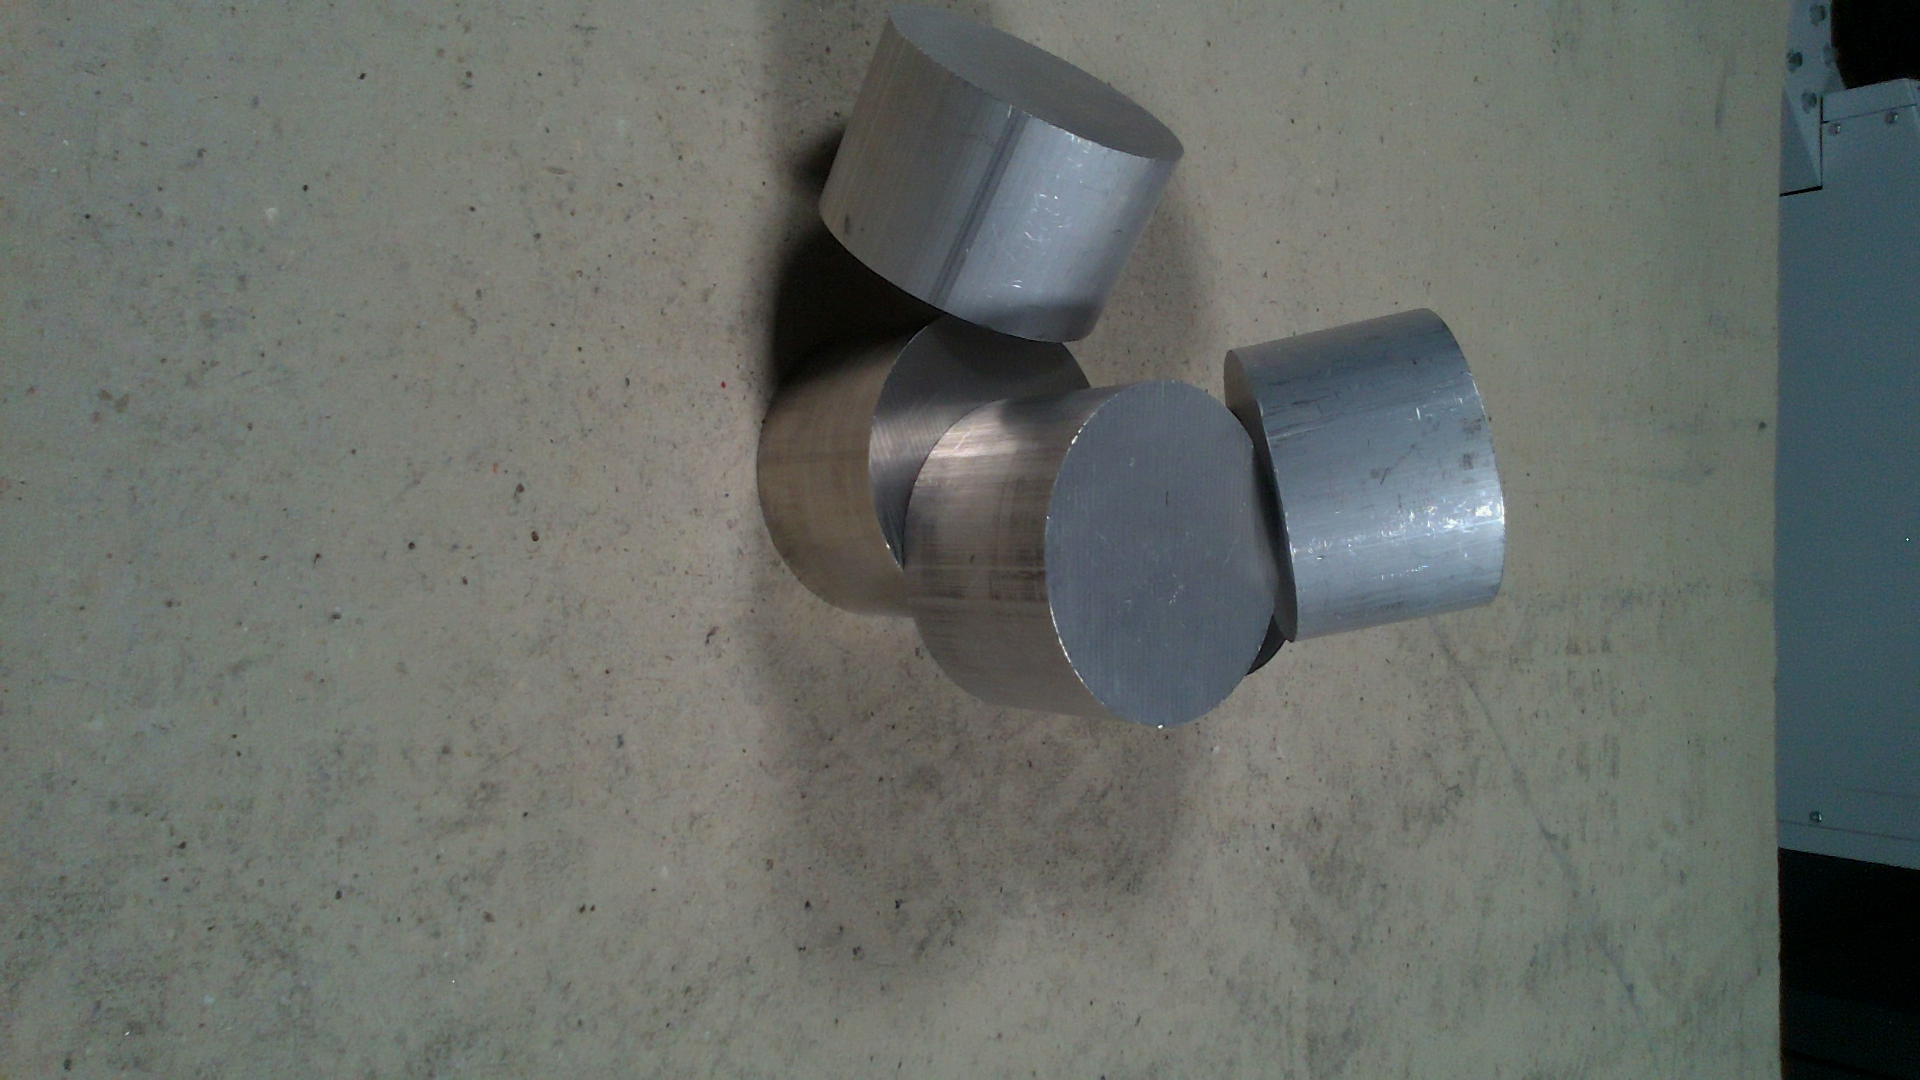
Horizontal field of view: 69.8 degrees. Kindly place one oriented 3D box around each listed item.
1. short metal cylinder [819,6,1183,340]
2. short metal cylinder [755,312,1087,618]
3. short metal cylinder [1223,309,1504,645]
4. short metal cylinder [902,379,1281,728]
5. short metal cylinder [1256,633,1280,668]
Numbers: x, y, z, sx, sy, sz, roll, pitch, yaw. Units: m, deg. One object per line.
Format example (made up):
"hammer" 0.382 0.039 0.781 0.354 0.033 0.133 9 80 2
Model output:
"short metal cylinder" 0.010 -0.094 0.353 0.080 0.080 0.050 0 129 -40
"short metal cylinder" -0.007 -0.019 0.367 0.080 0.050 0.080 0 90 -40
"short metal cylinder" 0.104 -0.016 0.366 0.050 0.080 0.080 -12 101 4
"short metal cylinder" 0.033 0.003 0.335 0.080 0.050 0.080 0 90 -40
"short metal cylinder" 0.063 0.001 0.424 0.080 0.050 0.080 0 90 -40
